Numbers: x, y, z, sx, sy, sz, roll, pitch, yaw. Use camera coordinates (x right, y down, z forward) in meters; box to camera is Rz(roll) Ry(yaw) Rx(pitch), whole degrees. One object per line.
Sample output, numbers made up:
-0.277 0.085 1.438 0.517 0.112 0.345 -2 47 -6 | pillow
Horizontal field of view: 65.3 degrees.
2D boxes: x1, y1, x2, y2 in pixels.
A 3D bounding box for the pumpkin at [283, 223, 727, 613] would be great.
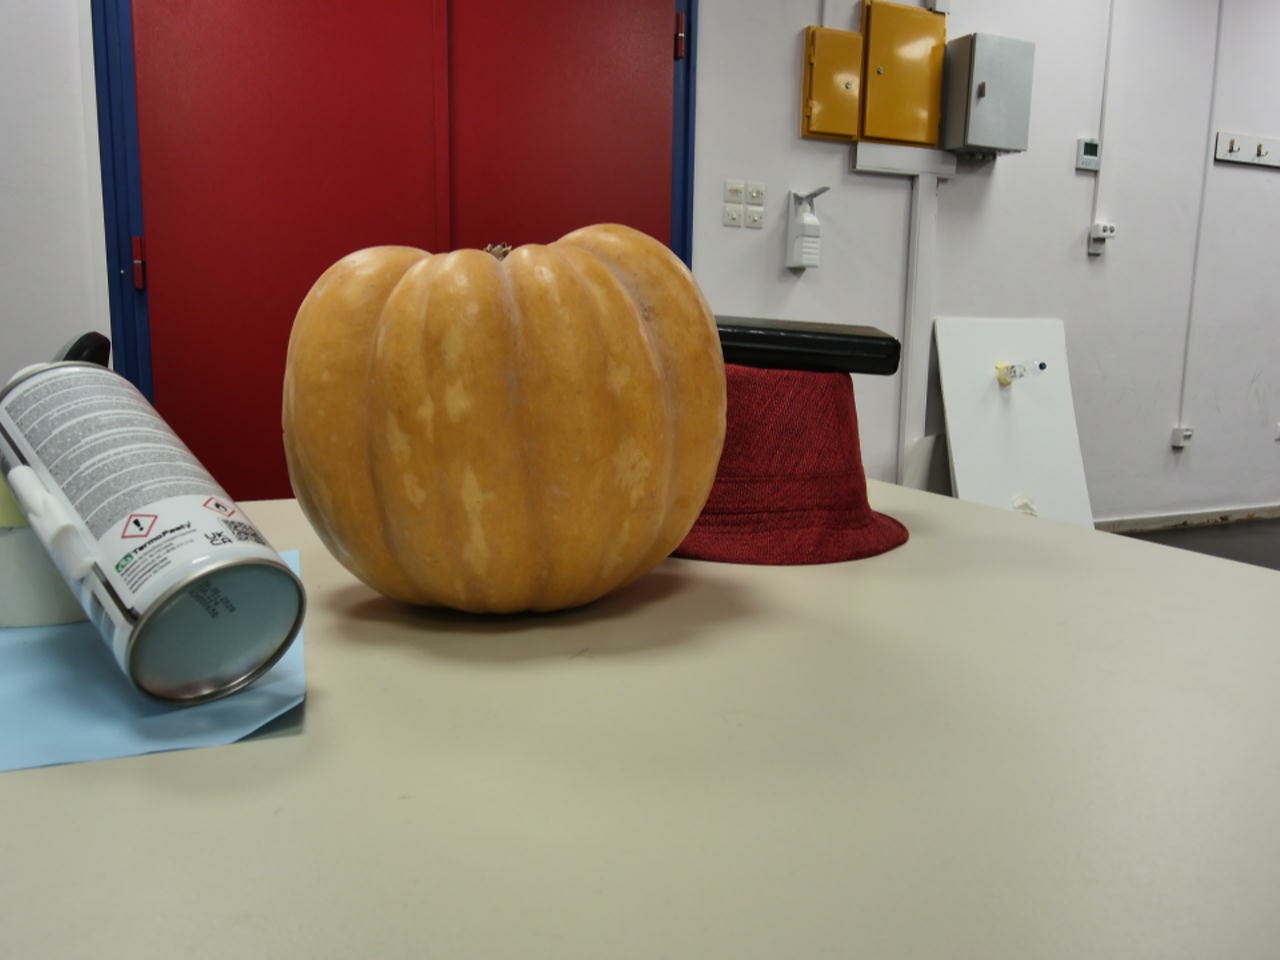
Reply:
-0.065 -0.033 0.517 0.230 0.194 0.230 0 7 0 | pumpkin
